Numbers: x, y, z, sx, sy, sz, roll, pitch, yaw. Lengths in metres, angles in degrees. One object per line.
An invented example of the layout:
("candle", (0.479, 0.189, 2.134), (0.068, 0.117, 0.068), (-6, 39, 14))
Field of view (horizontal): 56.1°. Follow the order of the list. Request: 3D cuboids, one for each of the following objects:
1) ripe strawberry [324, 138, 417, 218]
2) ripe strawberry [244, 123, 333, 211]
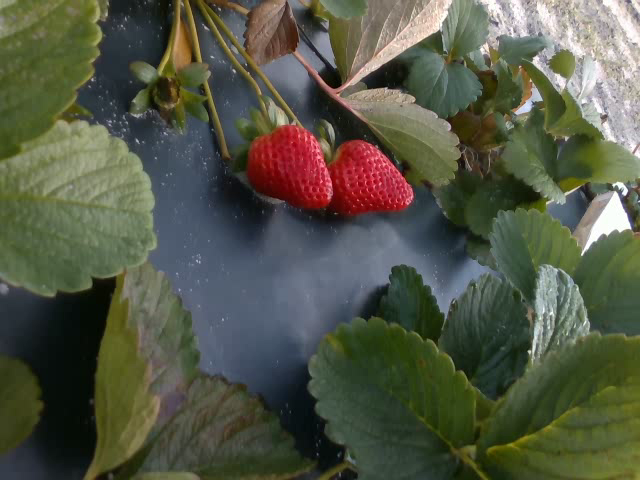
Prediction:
("ripe strawberry", (0.033, -0.038, 0.370), (0.064, 0.051, 0.058), (27, 45, 1))
("ripe strawberry", (-0.012, -0.038, 0.326), (0.048, 0.056, 0.041), (-10, -32, -51))
